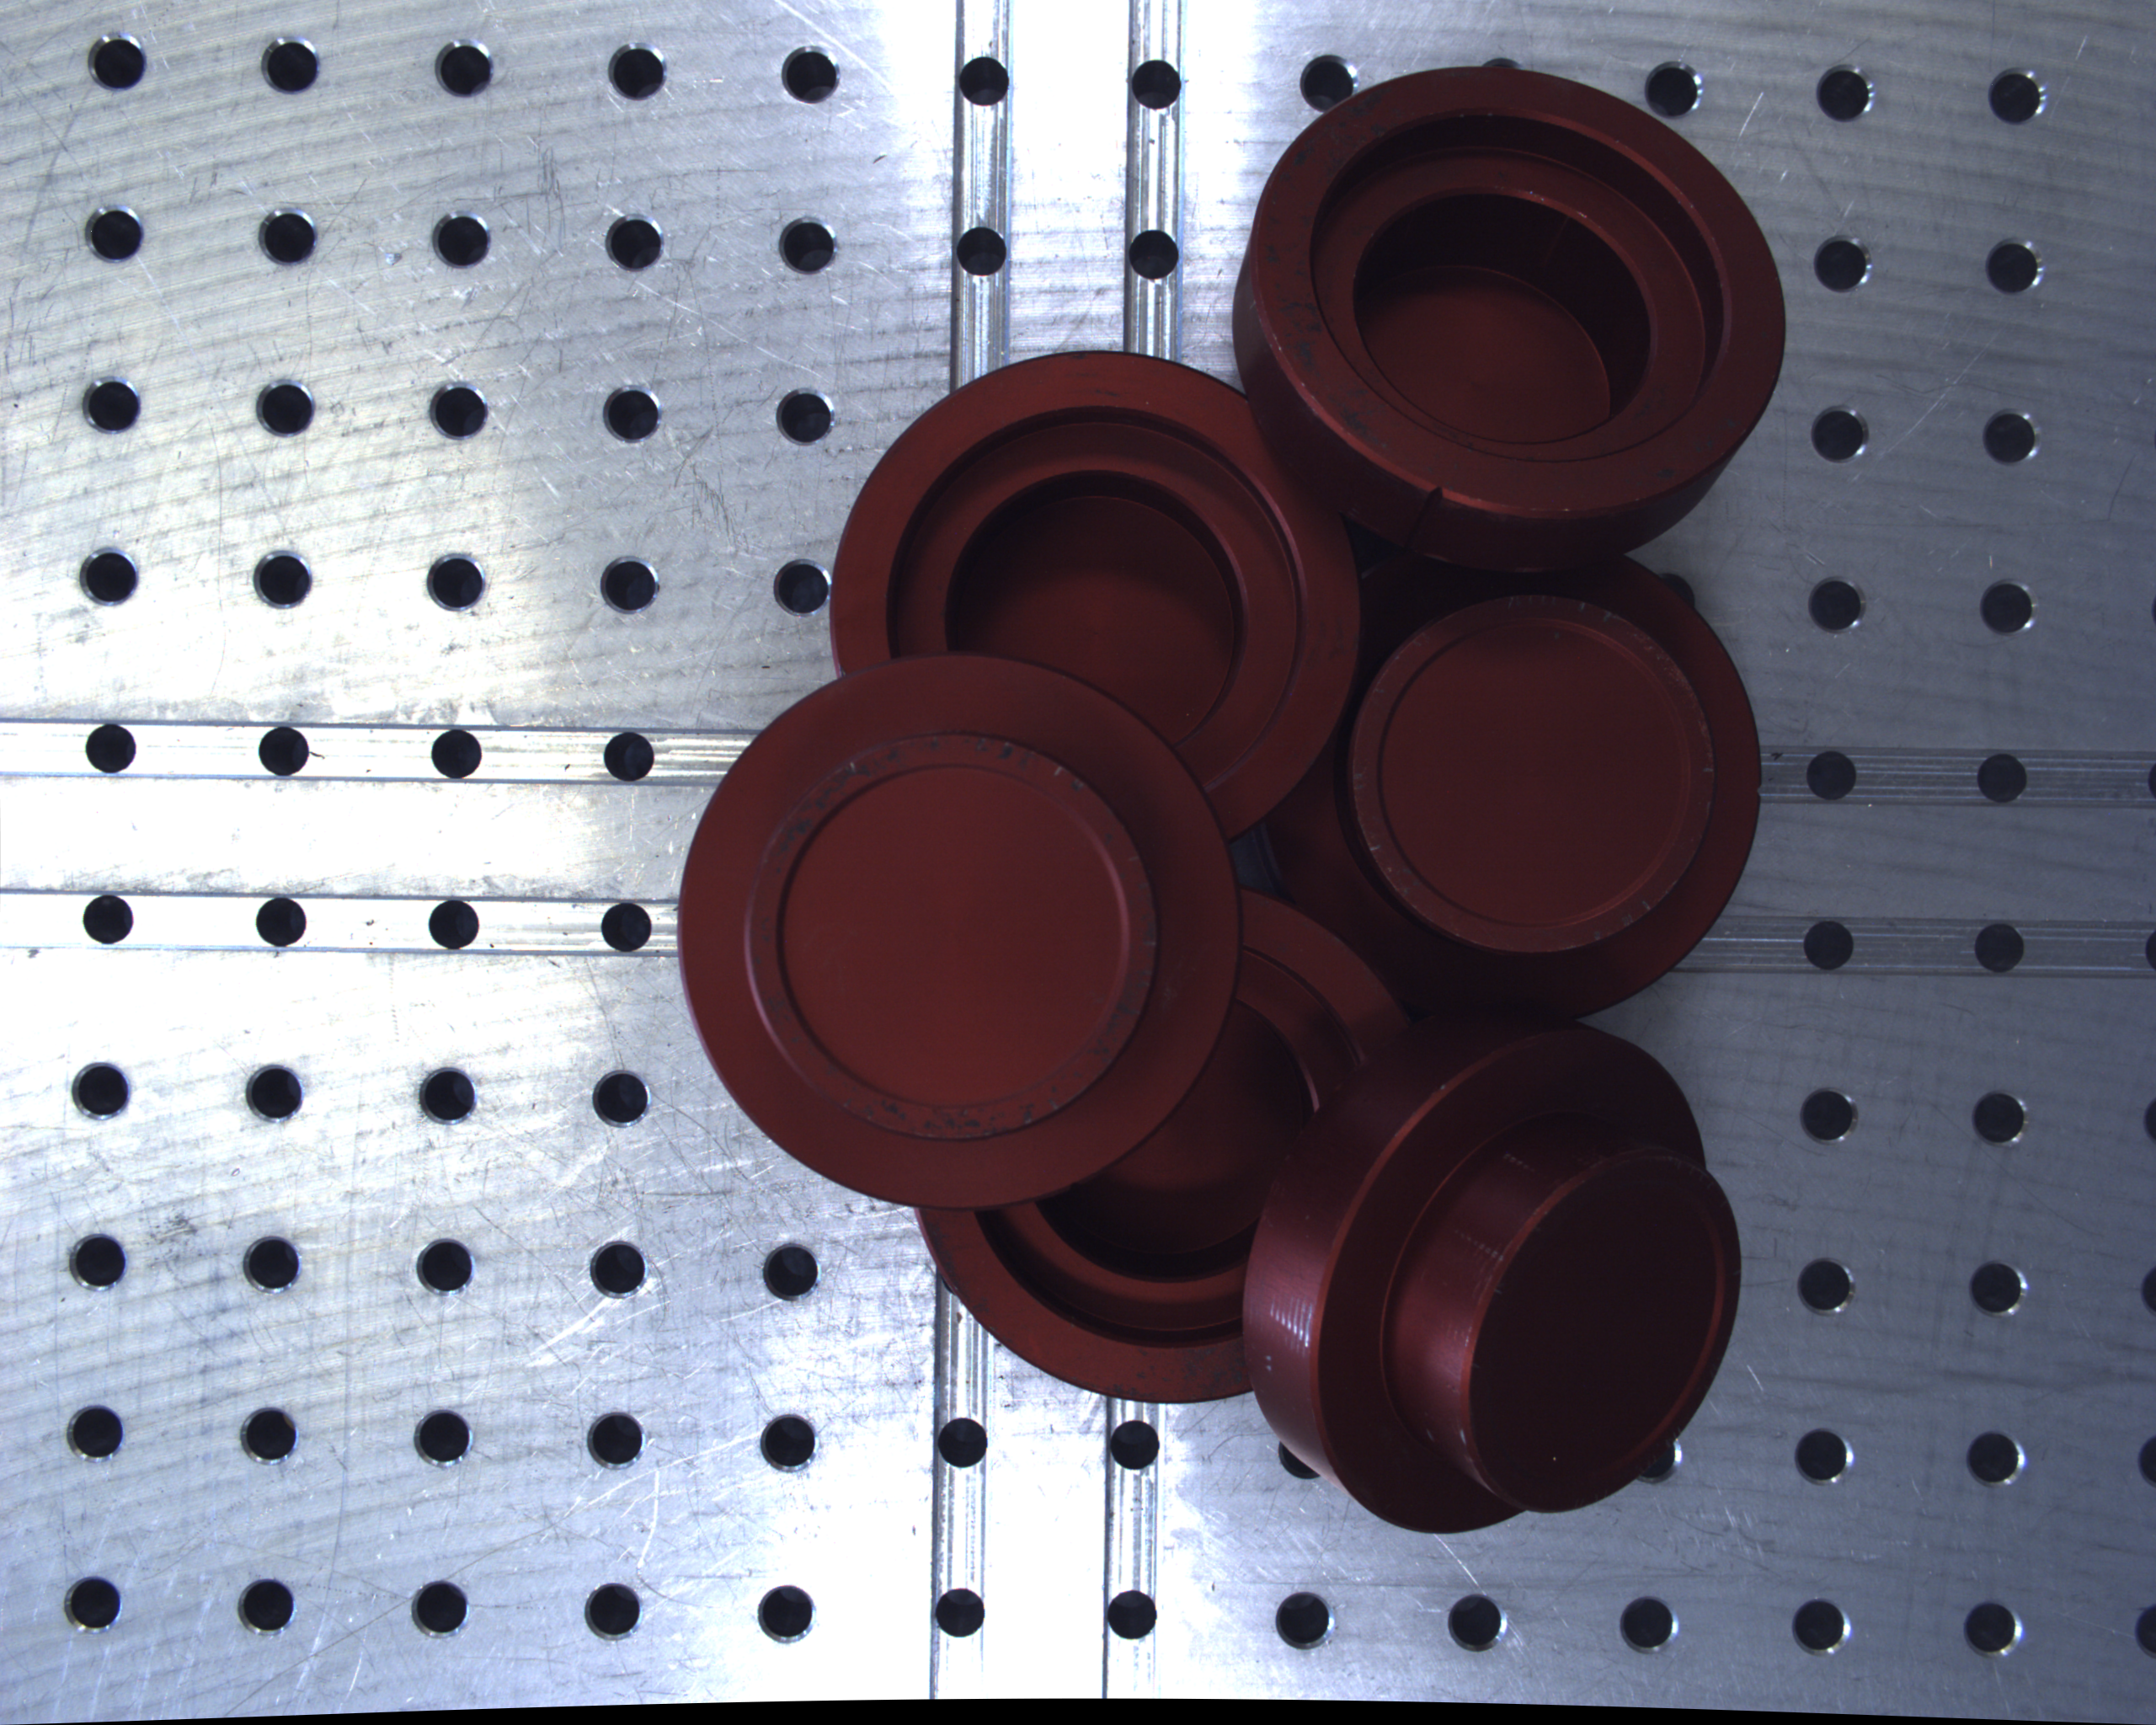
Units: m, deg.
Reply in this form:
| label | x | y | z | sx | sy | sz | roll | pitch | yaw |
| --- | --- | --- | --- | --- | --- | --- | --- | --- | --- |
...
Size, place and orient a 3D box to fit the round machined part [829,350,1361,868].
| label | x | y | z | sx | sy | sz | roll | pitch | yaw |
| --- | --- | --- | --- | --- | --- | --- | --- | --- | --- |
| round machined part | 0.003 | -0.046 | 0.405 | 0.099 | 0.042 | 0.097 | 0 | 90 | 0 |

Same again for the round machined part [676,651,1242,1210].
| label | x | y | z | sx | sy | sz | roll | pitch | yaw |
| --- | --- | --- | --- | --- | --- | --- | --- | --- | --- |
| round machined part | -0.021 | 0.012 | 0.362 | 0.099 | 0.042 | 0.097 | 0 | 90 | 0 |

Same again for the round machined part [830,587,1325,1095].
| label | x | y | z | sx | sy | sz | roll | pitch | yaw |
| --- | --- | --- | --- | --- | --- | --- | --- | --- | --- |
| round machined part | -0.004 | -0.002 | 0.404 | 0.099 | 0.042 | 0.097 | 0 | 90 | 0 |

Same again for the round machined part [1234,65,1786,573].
| label | x | y | z | sx | sy | sz | roll | pitch | yaw |
| --- | --- | --- | --- | --- | --- | --- | --- | --- | --- |
| round machined part | 0.078 | -0.097 | 0.394 | 0.099 | 0.042 | 0.098 | 2 | 69 | -6 |

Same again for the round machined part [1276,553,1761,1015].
| label | x | y | z | sx | sy | sz | roll | pitch | yaw |
| --- | --- | --- | --- | --- | --- | --- | --- | --- | --- |
| round machined part | 0.084 | -0.016 | 0.405 | 0.099 | 0.042 | 0.097 | 0 | 90 | 0 |

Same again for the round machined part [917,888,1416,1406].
| label | x | y | z | sx | sy | sz | roll | pitch | yaw |
| --- | --- | --- | --- | --- | --- | --- | --- | --- | --- |
| round machined part | 0.018 | 0.051 | 0.405 | 0.099 | 0.042 | 0.097 | 0 | 90 | 0 |

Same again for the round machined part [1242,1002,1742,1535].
| label | x | y | z | sx | sy | sz | roll | pitch | yaw |
| --- | --- | --- | --- | --- | --- | --- | --- | --- | --- |
| round machined part | 0.082 | 0.078 | 0.381 | 0.099 | 0.042 | 0.097 | -9 | 108 | -31 |
